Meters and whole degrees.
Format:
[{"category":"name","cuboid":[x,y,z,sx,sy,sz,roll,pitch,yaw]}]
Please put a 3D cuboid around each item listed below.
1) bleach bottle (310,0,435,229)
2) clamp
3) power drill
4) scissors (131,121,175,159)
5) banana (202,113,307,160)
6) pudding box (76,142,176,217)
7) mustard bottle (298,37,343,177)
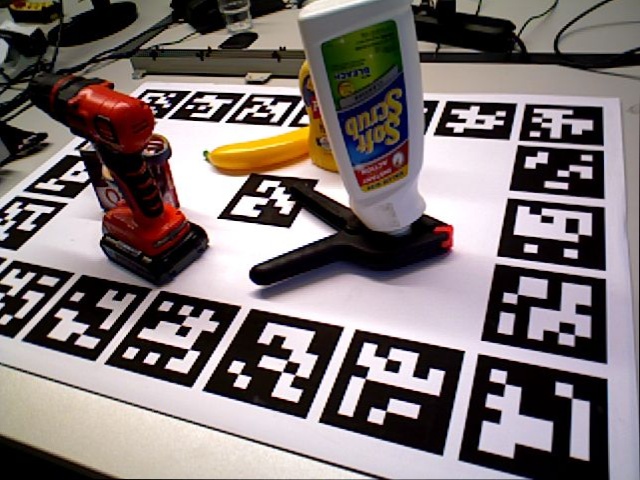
[{"category":"bleach bottle","cuboid":[0.067,-0.105,0.504,0.103,0.255,0.066,-9,36,11]},{"category":"clamp","cuboid":[0.042,-0.019,0.576,0.203,0.037,0.162,4,45,15]},{"category":"power drill","cuboid":[-0.230,-0.079,0.566,0.185,0.190,0.056,17,40,32]},{"category":"scissors","cuboid":[-0.260,-0.137,0.659,0.203,0.016,0.086,33,61,33]},{"category":"banana","cuboid":[-0.067,-0.147,0.757,0.195,0.039,0.074,-19,24,-8]},{"category":"pudding box","cuboid":[-0.246,-0.082,0.694,0.114,0.092,0.038,12,39,23]},{"category":"mustard bottle","cuboid":[0.020,-0.173,0.666,0.096,0.195,0.057,21,49,29]}]
